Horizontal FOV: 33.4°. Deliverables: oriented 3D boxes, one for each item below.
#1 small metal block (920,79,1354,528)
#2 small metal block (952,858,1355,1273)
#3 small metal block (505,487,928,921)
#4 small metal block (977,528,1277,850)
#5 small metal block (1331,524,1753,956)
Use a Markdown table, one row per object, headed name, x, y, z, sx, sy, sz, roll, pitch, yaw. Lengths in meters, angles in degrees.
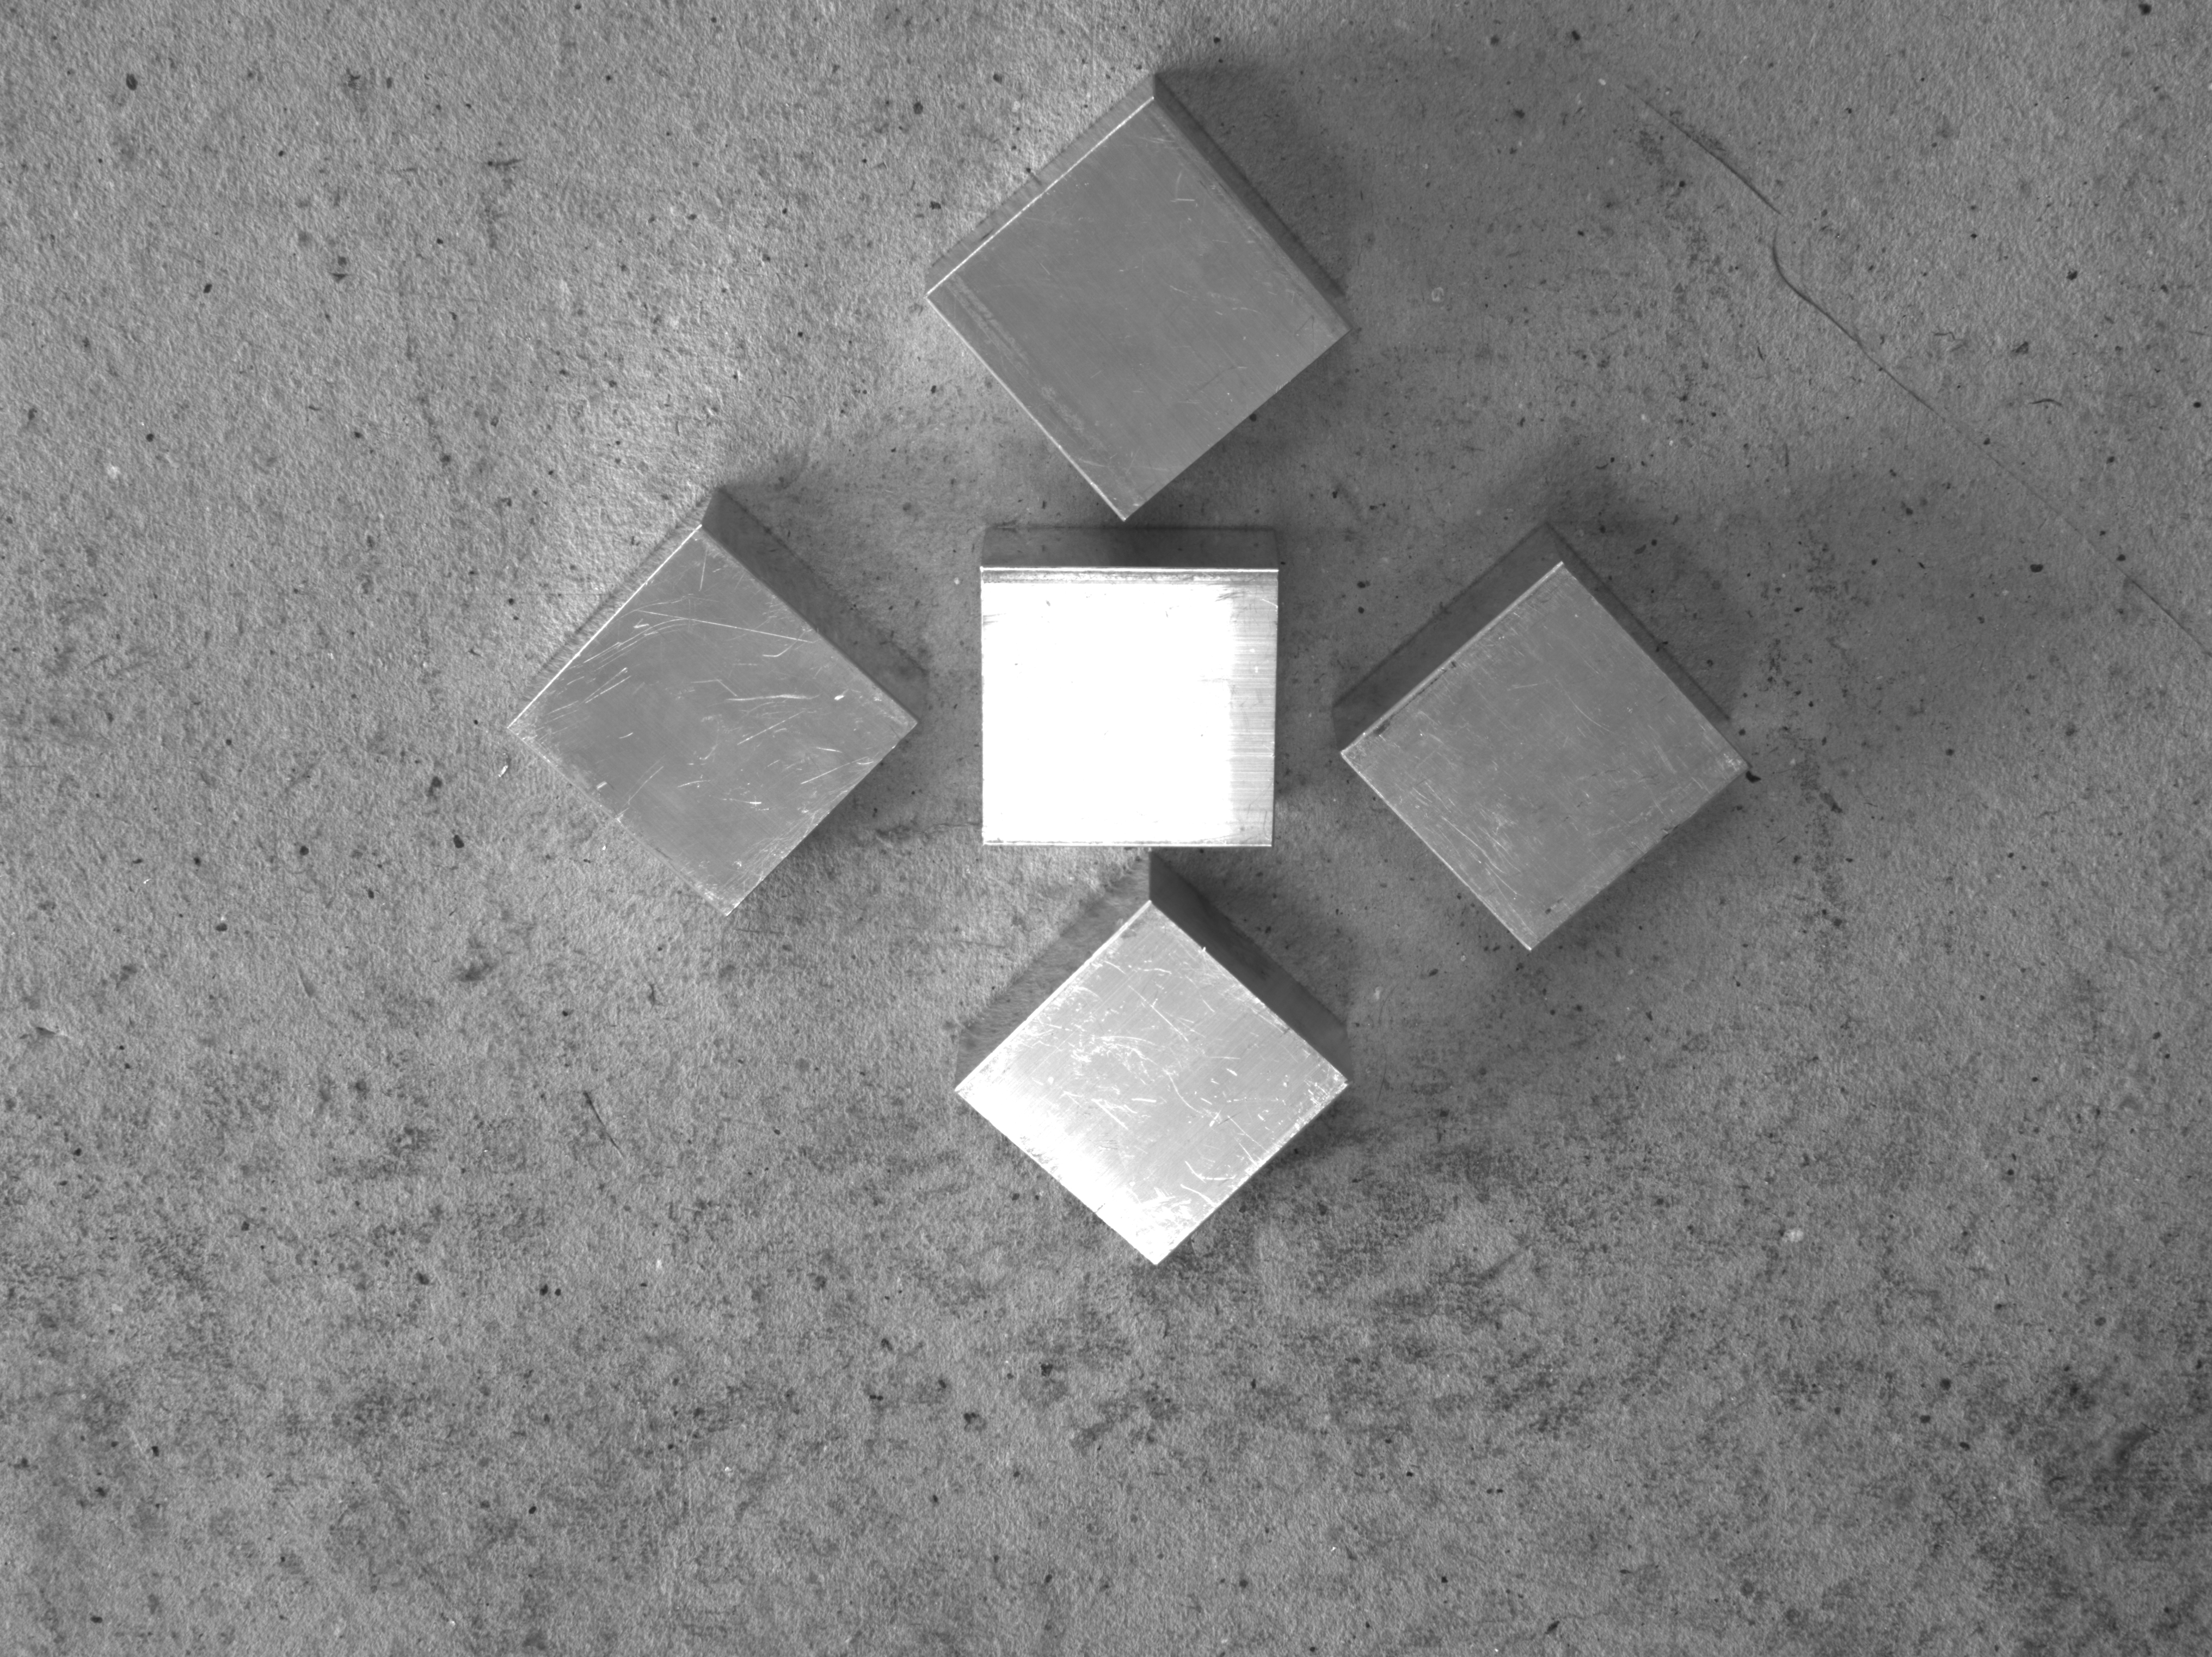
| name | x | y | z | sx | sy | sz | roll | pitch | yaw |
| --- | --- | --- | --- | --- | --- | --- | --- | --- | --- |
| small metal block | 0.005 | -0.087 | 0.611 | 0.050 | 0.025 | 0.050 | -39 | 105 | 12 |
| small metal block | 0.008 | 0.042 | 0.659 | 0.050 | 0.025 | 0.050 | 42 | 104 | -14 |
| small metal block | -0.067 | -0.021 | 0.636 | 0.050 | 0.025 | 0.050 | 42 | 104 | -14 |
| small metal block | 0.003 | -0.024 | 0.635 | 0.050 | 0.025 | 0.050 | 0 | 110 | 0 |
| small metal block | 0.075 | -0.015 | 0.639 | 0.050 | 0.025 | 0.050 | -41 | 105 | 14 |
